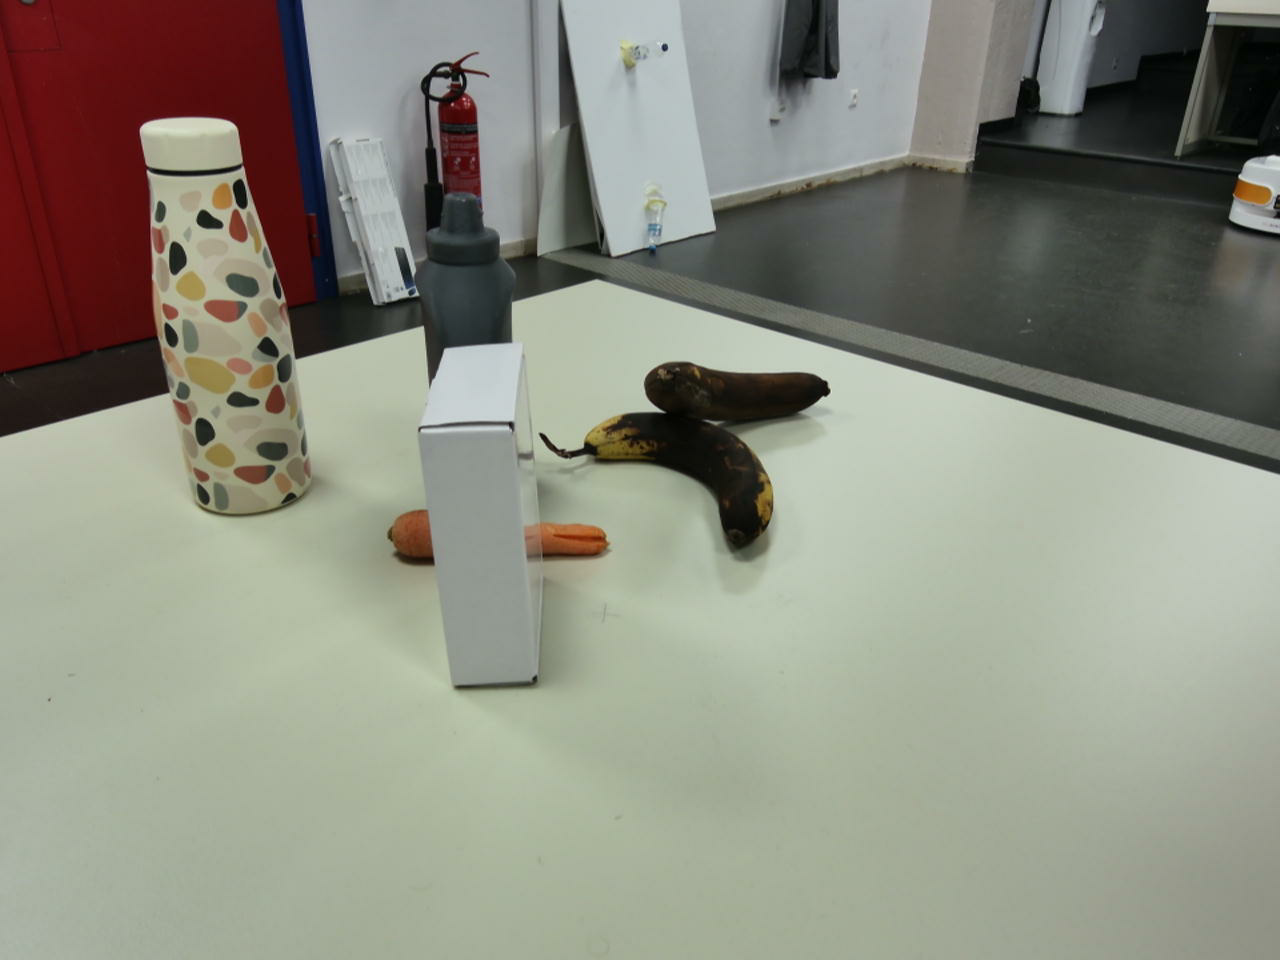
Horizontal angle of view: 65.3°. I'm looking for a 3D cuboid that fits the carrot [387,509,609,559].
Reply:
[{"bbox_3d":[-0.088,0.033,0.622,0.136,0.032,0.030,0,25,-2],"label":"carrot"}]
